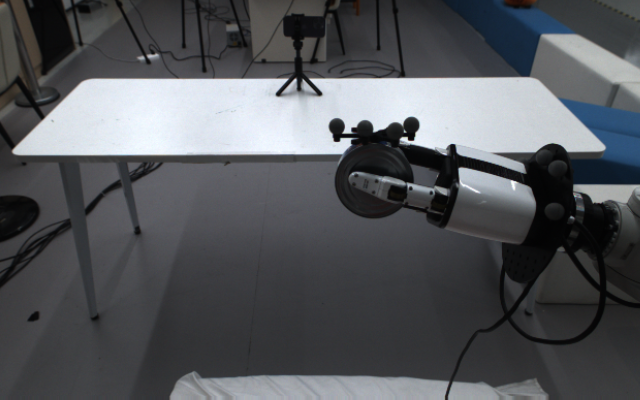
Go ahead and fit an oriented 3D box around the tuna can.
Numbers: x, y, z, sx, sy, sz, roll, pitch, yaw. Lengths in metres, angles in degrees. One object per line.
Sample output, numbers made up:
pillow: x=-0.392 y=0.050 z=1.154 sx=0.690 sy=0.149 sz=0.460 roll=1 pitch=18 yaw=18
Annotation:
tuna can: x=0.062 y=-0.026 z=0.542 sx=0.085 sy=0.085 sz=0.034 roll=4 pitch=18 yaw=3
